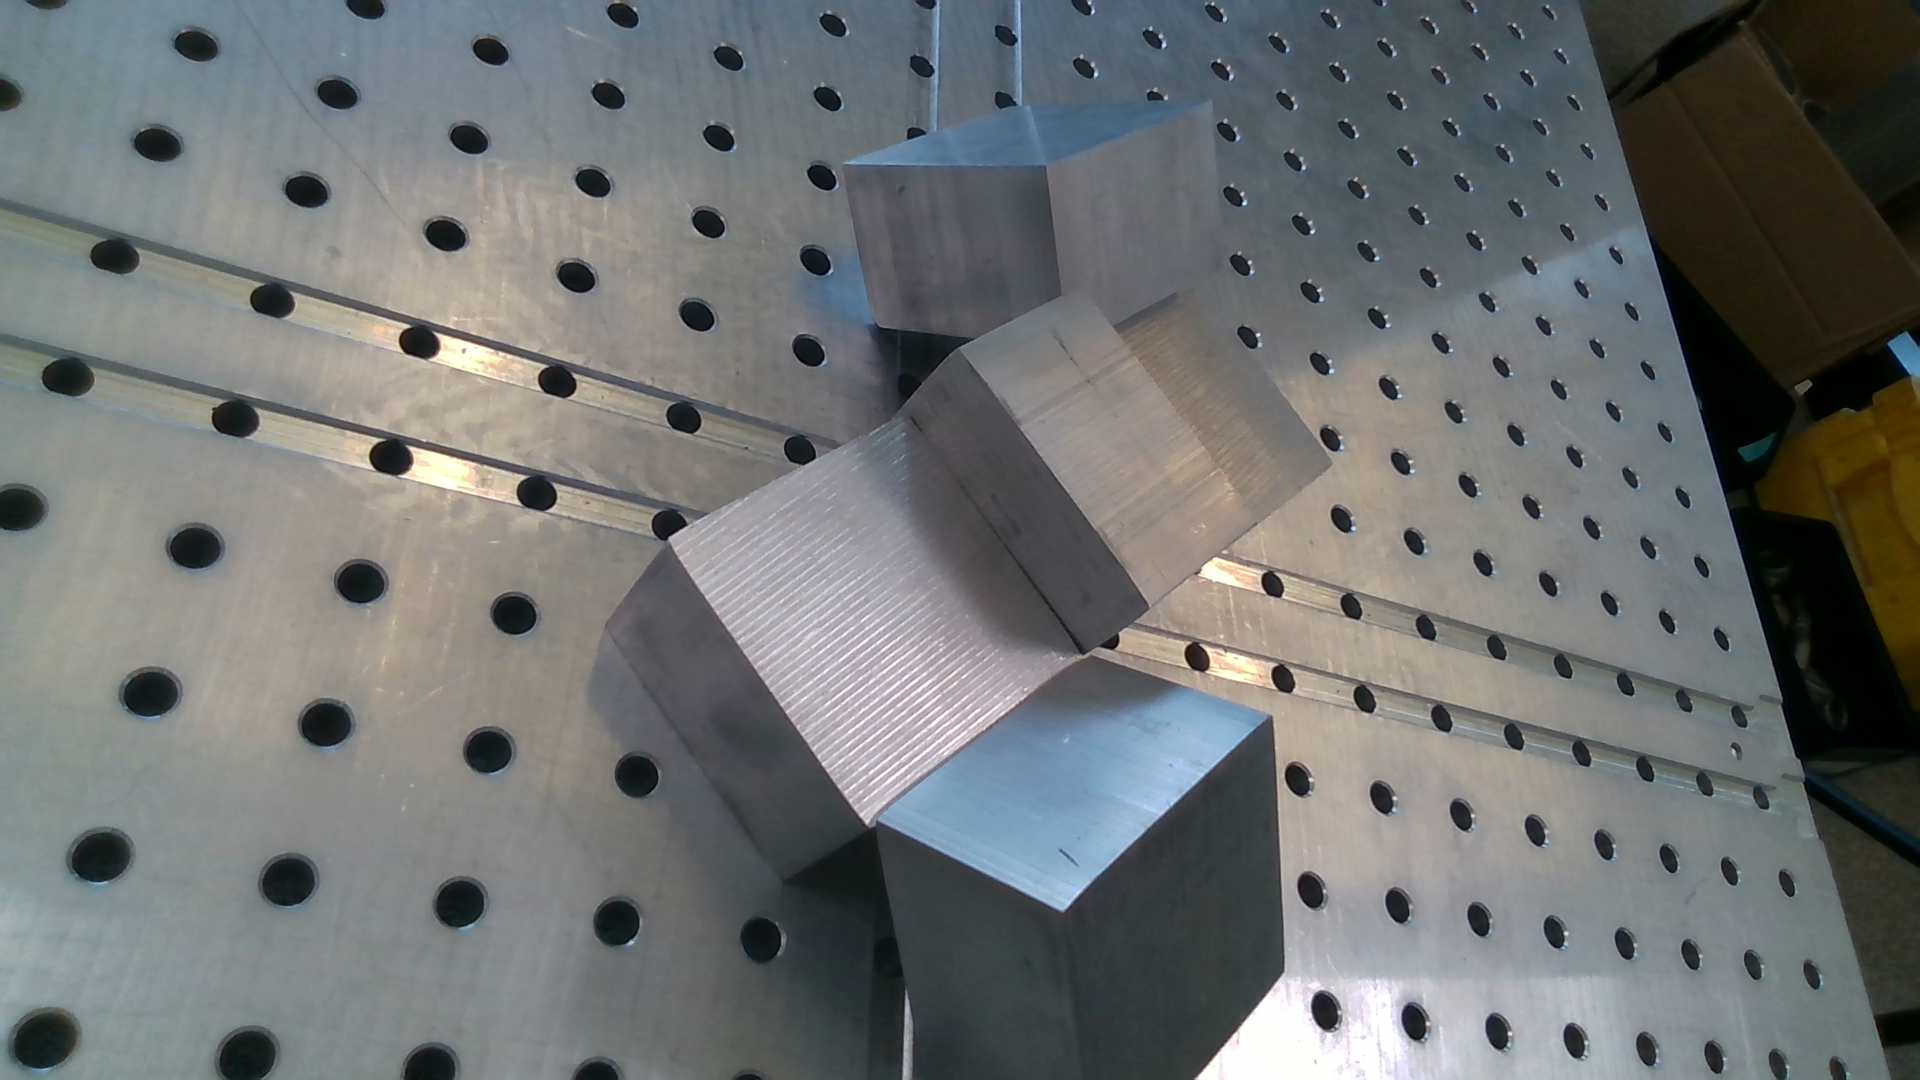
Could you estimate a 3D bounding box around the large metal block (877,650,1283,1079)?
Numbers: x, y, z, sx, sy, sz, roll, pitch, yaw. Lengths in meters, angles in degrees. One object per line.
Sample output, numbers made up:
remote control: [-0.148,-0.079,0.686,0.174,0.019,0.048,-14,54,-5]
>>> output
large metal block: [0.032,0.085,0.327,0.080,0.050,0.080,-32,124,-38]

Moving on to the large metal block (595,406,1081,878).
large metal block: [-0.030,0.024,0.348,0.080,0.050,0.080,-31,84,-40]

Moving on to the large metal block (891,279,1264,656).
large metal block: [0.021,-0.010,0.378,0.050,0.080,0.080,-33,85,-38]

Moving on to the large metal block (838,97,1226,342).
large metal block: [0.023,-0.100,0.419,0.080,0.080,0.050,-32,123,-39]

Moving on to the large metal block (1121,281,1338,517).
large metal block: [0.057,-0.029,0.431,0.080,0.050,0.080,-33,83,-38]
